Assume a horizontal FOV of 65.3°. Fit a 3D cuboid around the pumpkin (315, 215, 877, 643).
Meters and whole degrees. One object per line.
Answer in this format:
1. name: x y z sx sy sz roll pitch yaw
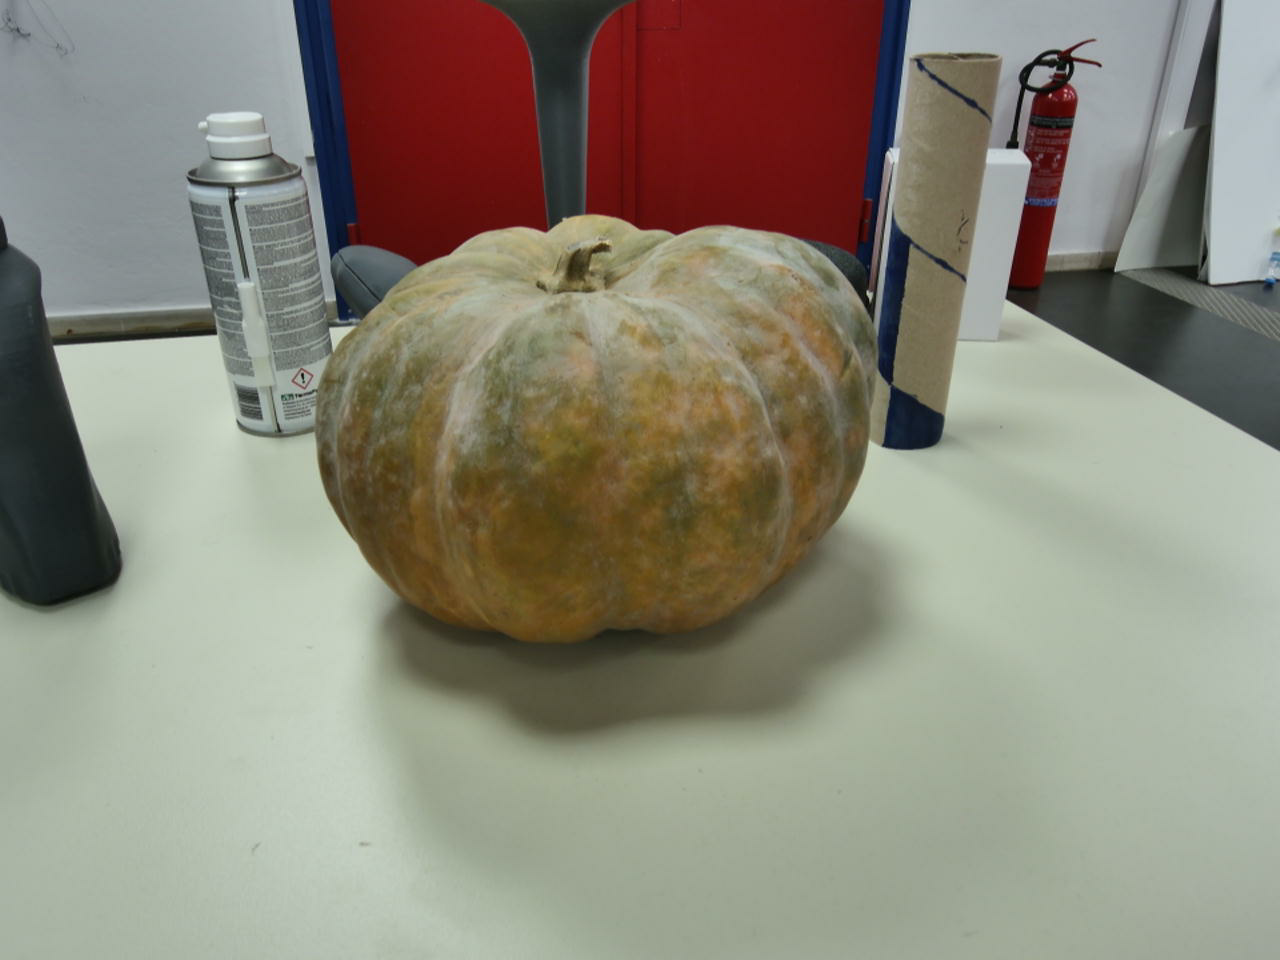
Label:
1. pumpkin: -0.023 -0.030 0.460 0.252 0.169 0.251 0 26 0
